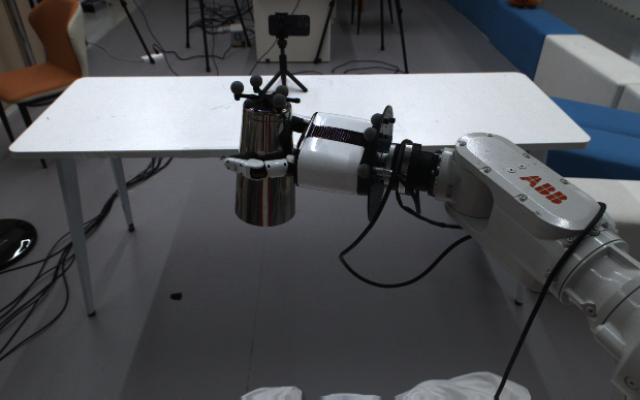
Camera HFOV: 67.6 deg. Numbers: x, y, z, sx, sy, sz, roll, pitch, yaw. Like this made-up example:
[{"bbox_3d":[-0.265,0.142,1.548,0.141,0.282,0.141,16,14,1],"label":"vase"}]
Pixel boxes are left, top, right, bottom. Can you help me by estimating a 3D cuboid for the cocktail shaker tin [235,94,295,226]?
[{"bbox_3d":[-0.077,-0.058,0.694,0.093,0.170,0.093,3,32,-2],"label":"cocktail shaker tin"}]
